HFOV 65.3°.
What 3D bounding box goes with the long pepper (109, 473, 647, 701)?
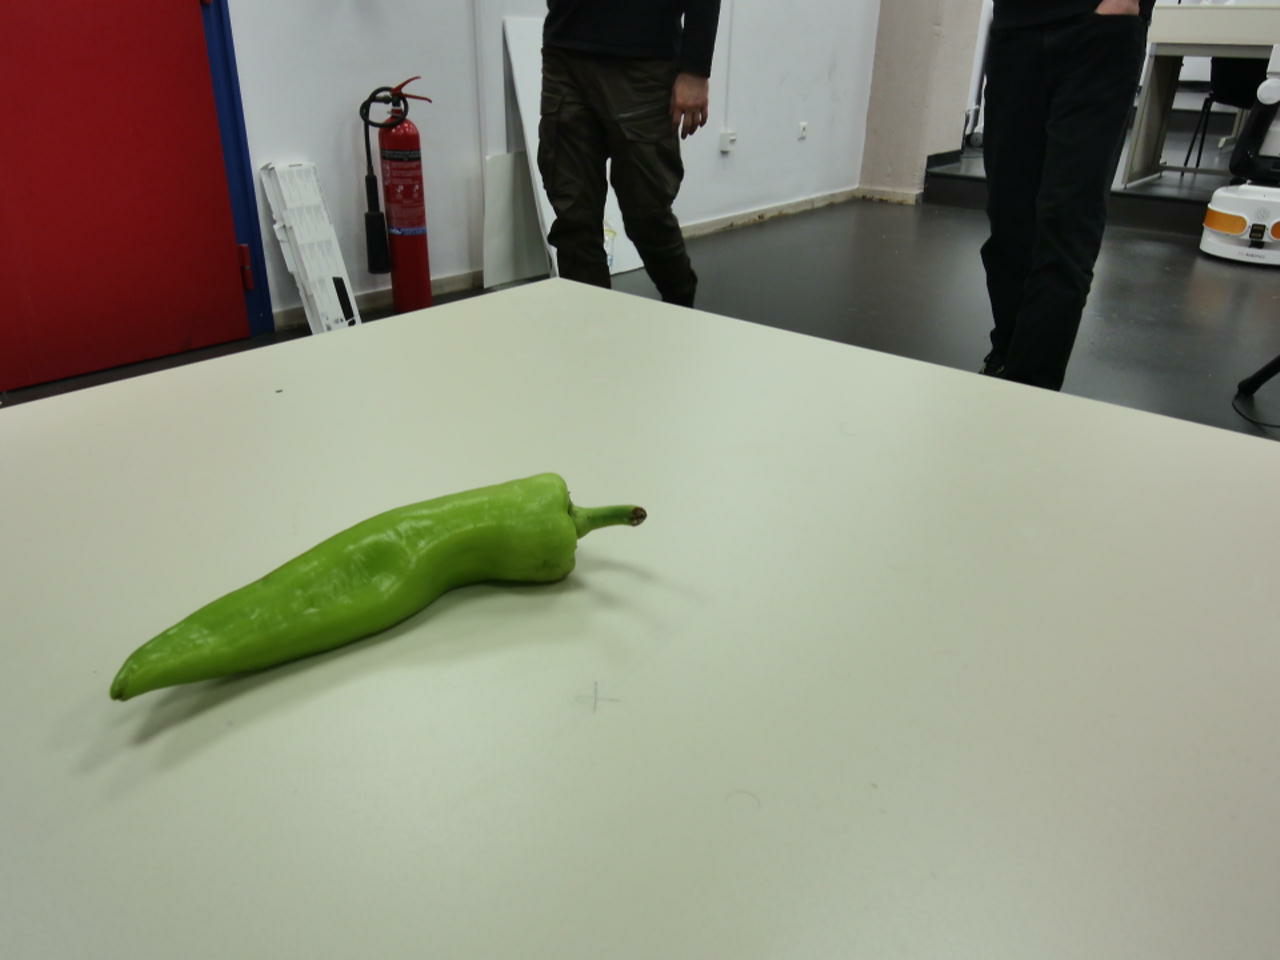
[{"bbox_3d":[-0.098,0.036,0.390,0.204,0.045,0.065,-15,27,-32],"label":"long pepper"}]
